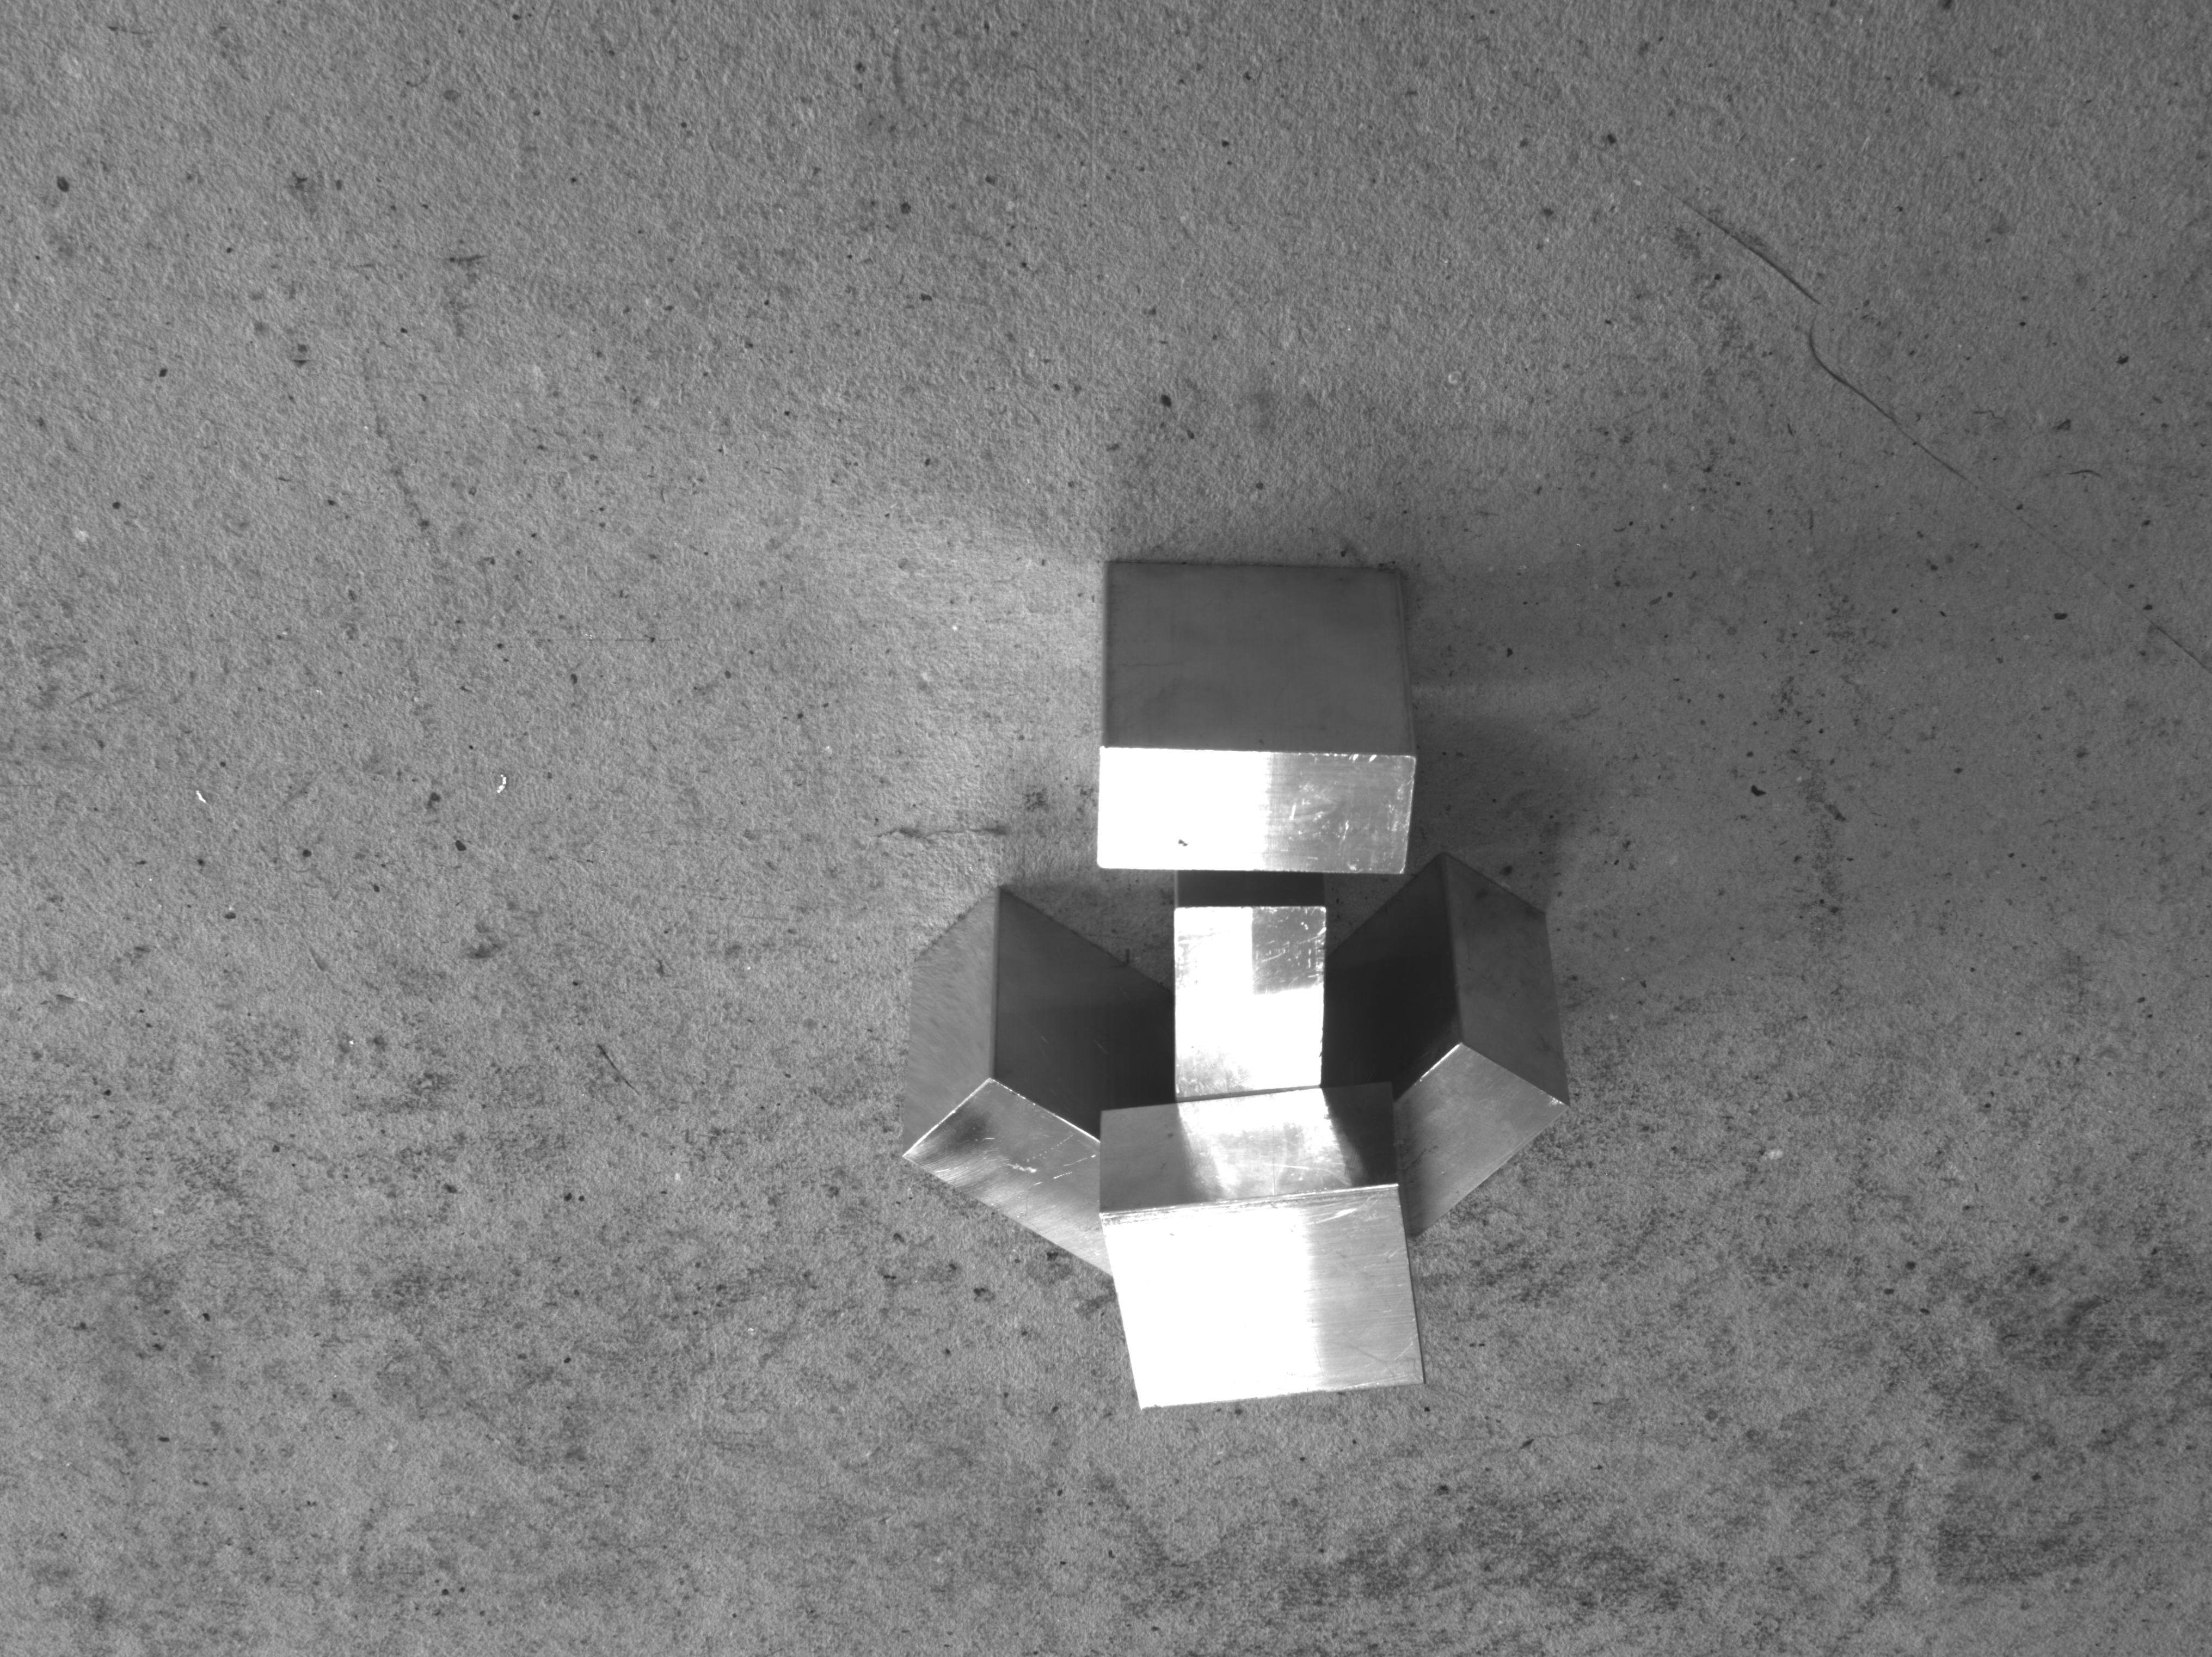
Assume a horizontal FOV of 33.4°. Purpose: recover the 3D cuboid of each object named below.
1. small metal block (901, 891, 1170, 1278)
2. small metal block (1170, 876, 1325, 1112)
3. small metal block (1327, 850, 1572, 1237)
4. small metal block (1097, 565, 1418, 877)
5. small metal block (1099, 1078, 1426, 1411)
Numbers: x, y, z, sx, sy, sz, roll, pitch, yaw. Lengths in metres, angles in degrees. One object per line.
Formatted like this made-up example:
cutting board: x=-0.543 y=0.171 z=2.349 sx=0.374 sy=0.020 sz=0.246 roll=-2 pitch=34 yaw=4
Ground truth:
small metal block: x=-0.009 y=0.047 z=0.661 sx=0.050 sy=0.050 sz=0.025 roll=32 pitch=123 yaw=-25
small metal block: x=0.024 y=0.016 z=0.637 sx=0.025 sy=0.050 sz=0.050 roll=-1 pitch=129 yaw=0
small metal block: x=0.055 y=0.041 z=0.658 sx=0.025 sy=0.050 sz=0.050 roll=30 pitch=124 yaw=-23
small metal block: x=0.024 y=-0.018 z=0.608 sx=0.050 sy=0.050 sz=0.025 roll=1 pitch=130 yaw=-1
small metal block: x=0.027 y=0.072 z=0.635 sx=0.050 sy=0.025 sz=0.050 roll=-6 pitch=129 yaw=6
